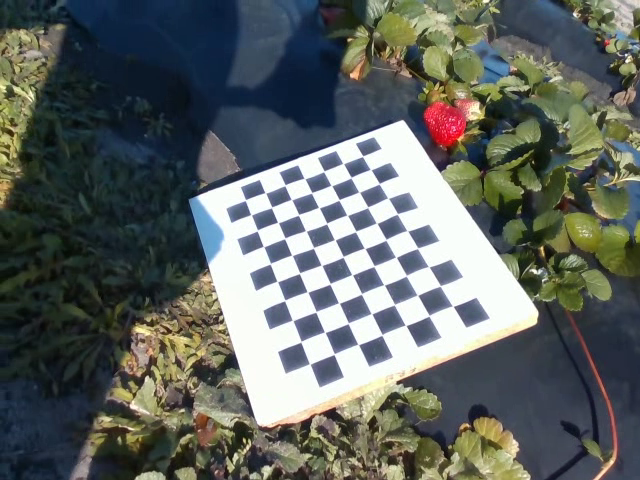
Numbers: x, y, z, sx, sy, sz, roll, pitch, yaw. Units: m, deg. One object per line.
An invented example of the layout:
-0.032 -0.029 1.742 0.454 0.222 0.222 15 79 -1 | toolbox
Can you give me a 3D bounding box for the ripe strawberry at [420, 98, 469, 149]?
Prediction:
0.145 -0.136 0.695 0.058 0.066 0.062 -4 -40 42 | ripe strawberry
